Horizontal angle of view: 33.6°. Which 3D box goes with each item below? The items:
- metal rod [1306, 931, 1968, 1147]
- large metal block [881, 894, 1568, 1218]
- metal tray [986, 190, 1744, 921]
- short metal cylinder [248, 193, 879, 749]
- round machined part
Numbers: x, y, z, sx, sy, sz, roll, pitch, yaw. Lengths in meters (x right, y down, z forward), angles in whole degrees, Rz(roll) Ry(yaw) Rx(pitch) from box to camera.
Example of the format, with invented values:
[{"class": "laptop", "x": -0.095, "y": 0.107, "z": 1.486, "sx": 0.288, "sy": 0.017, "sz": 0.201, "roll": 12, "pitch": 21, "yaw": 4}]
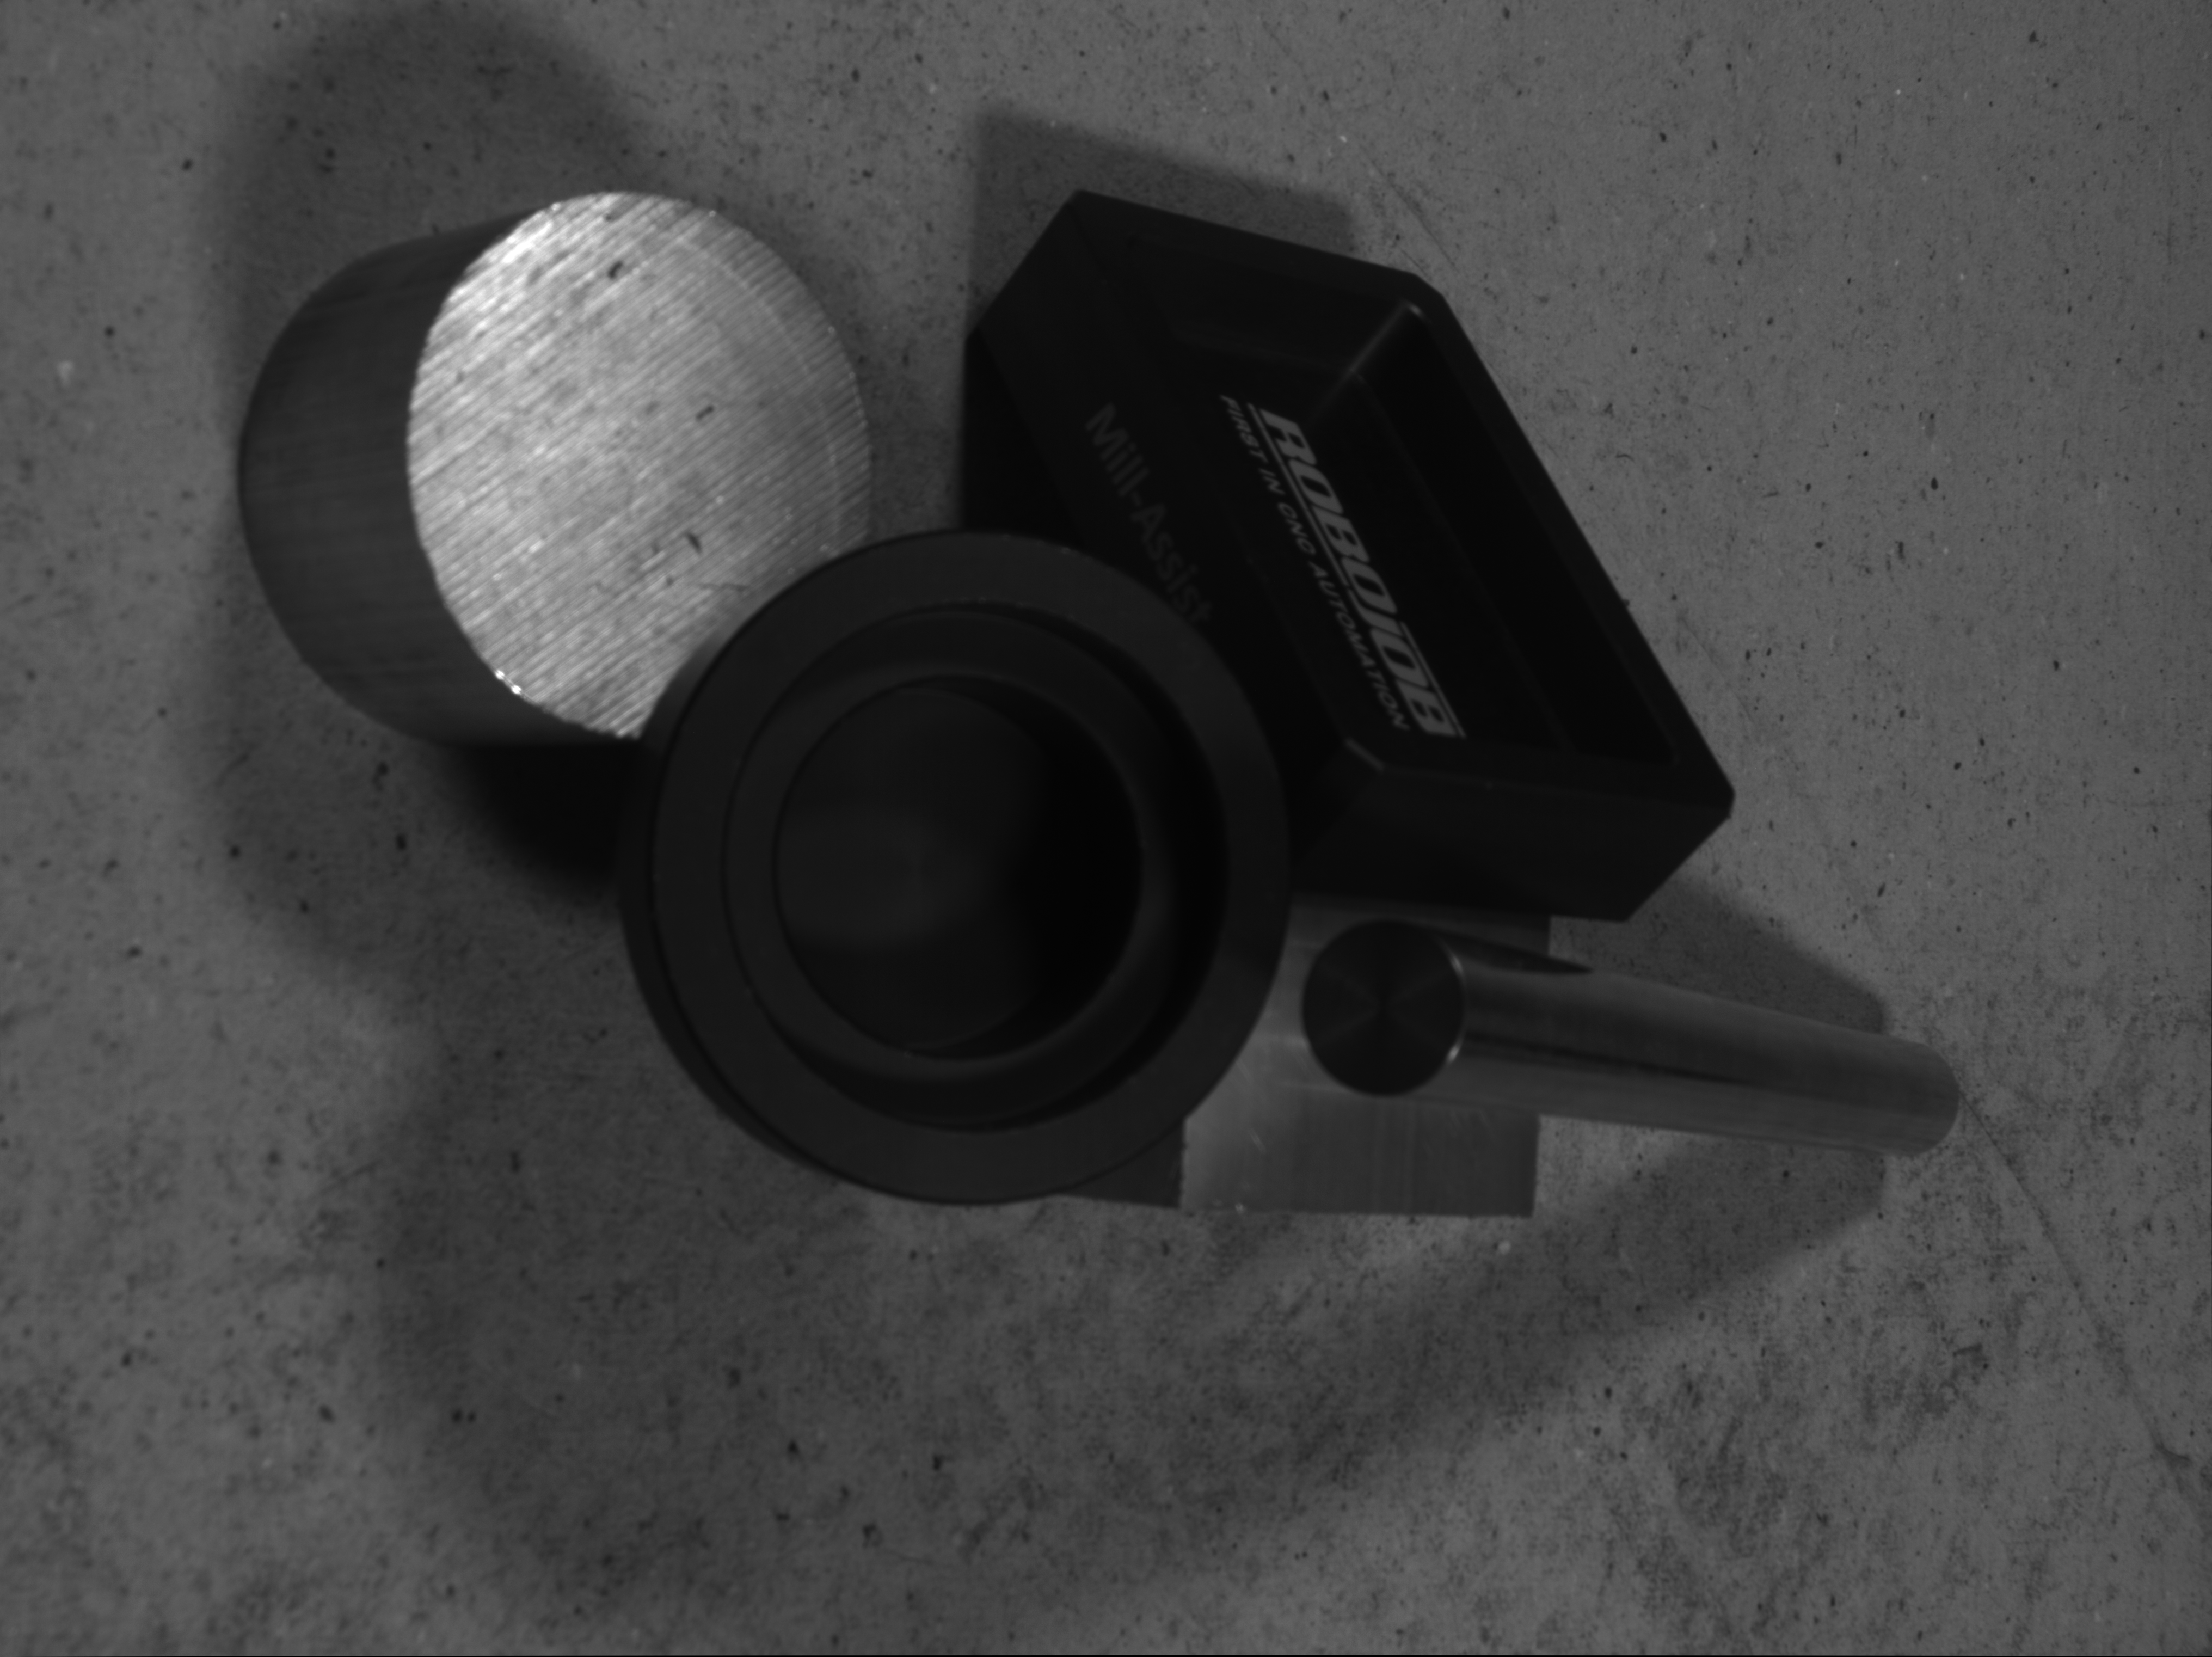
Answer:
[{"class": "metal rod", "x": 0.106, "y": 0.042, "z": 0.649, "sx": 0.301, "sy": 0.025, "sz": 0.025, "roll": 13, "pitch": 81, "yaw": -63}, {"class": "large metal block", "x": 0.020, "y": 0.037, "z": 0.618, "sx": 0.080, "sy": 0.080, "sz": 0.050, "roll": 6, "pitch": 86, "yaw": -40}, {"class": "metal tray", "x": 0.043, "y": -0.046, "z": 0.621, "sx": 0.090, "sy": 0.030, "sz": 0.130, "roll": 6, "pitch": 46, "yaw": -40}, {"class": "short metal cylinder", "x": -0.081, "y": -0.052, "z": 0.554, "sx": 0.080, "sy": 0.050, "sz": 0.080, "roll": 0, "pitch": 90, "yaw": -40}, {"class": "round machined part", "x": -0.025, "y": 0.006, "z": 0.549, "sx": 0.098, "sy": 0.042, "sz": 0.098, "roll": 0, "pitch": 89, "yaw": -20}]
